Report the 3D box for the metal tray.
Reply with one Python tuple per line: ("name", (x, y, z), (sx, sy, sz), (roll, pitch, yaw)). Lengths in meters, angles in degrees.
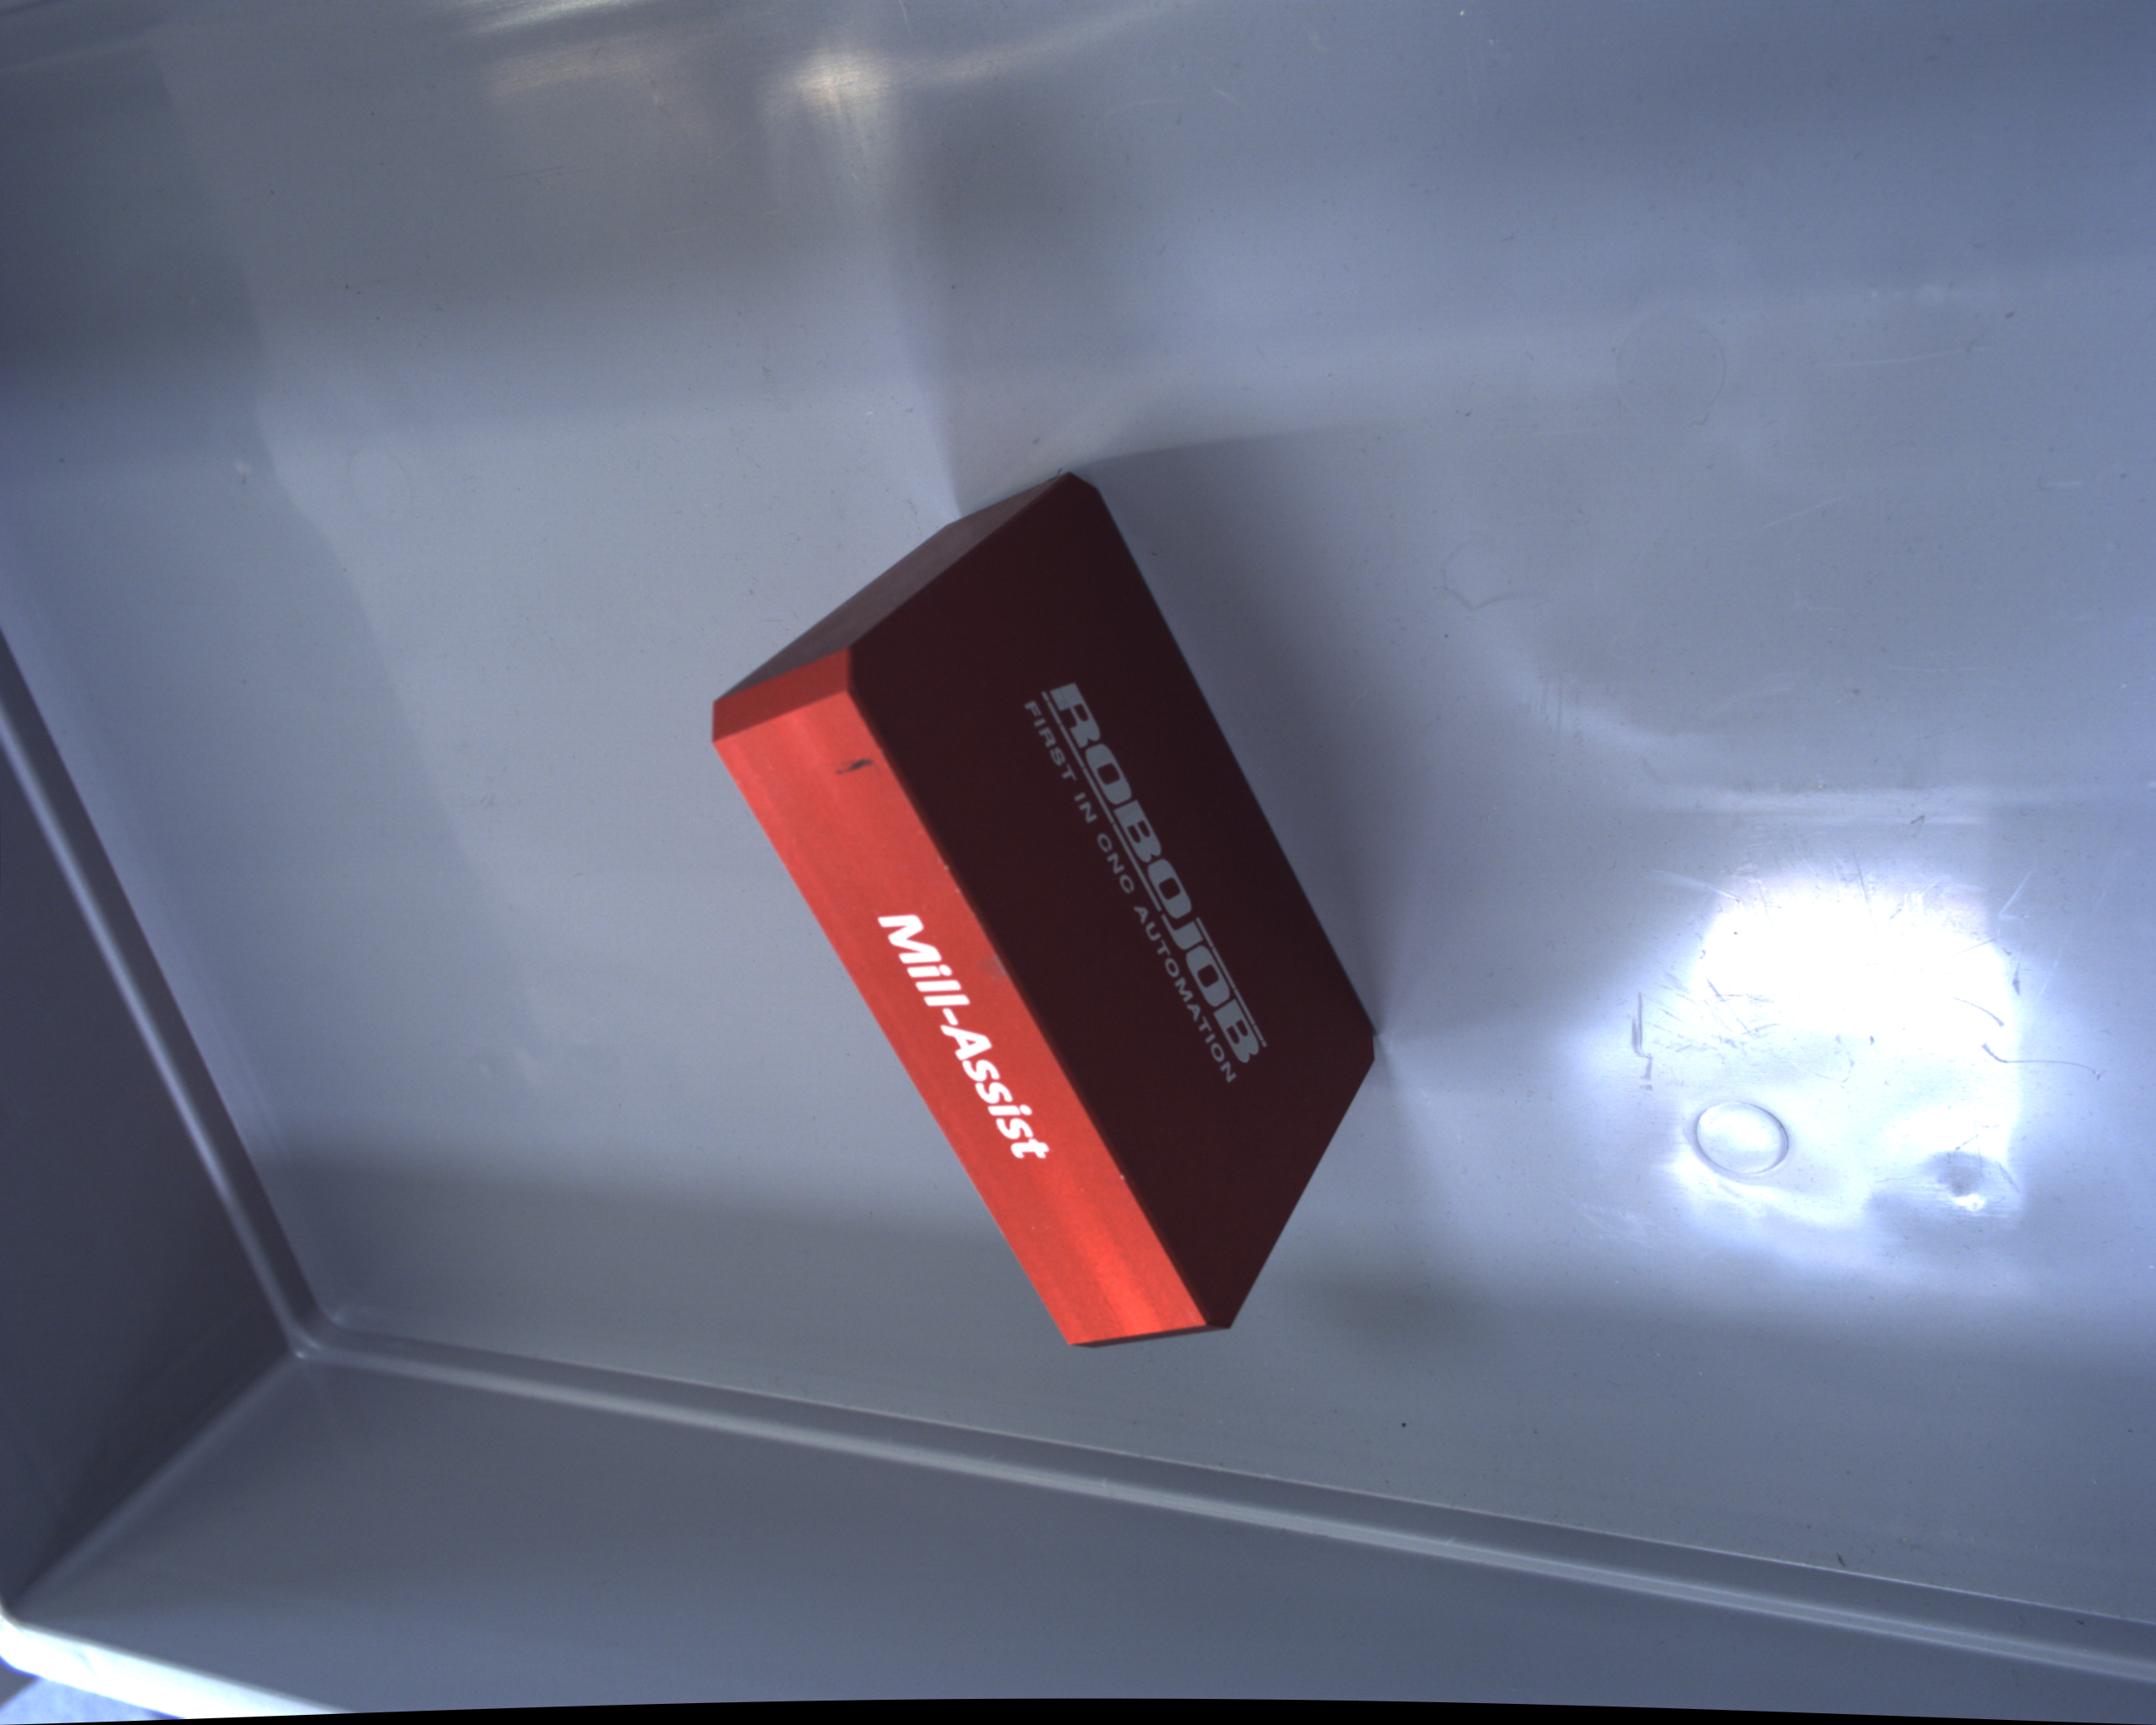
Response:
("metal tray", (0.000, 0.007, 0.368), (0.030, 0.090, 0.130), (-17, 110, 34))
